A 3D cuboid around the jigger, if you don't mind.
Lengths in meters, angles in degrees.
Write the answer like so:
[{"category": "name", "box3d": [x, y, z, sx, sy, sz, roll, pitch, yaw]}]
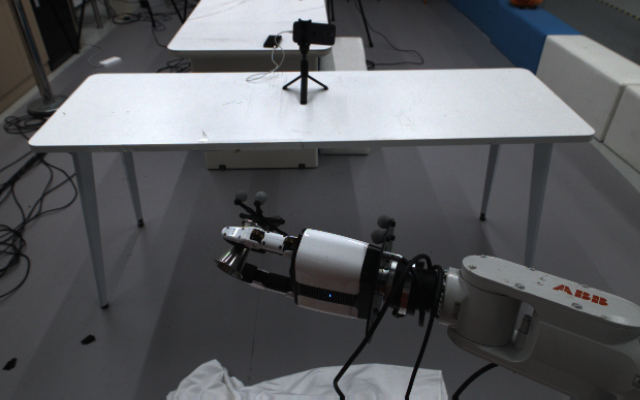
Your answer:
[{"category": "jigger", "box3d": [-0.105, 0.062, 0.643, 0.043, 0.043, 0.071, 19, 62, 23]}]
